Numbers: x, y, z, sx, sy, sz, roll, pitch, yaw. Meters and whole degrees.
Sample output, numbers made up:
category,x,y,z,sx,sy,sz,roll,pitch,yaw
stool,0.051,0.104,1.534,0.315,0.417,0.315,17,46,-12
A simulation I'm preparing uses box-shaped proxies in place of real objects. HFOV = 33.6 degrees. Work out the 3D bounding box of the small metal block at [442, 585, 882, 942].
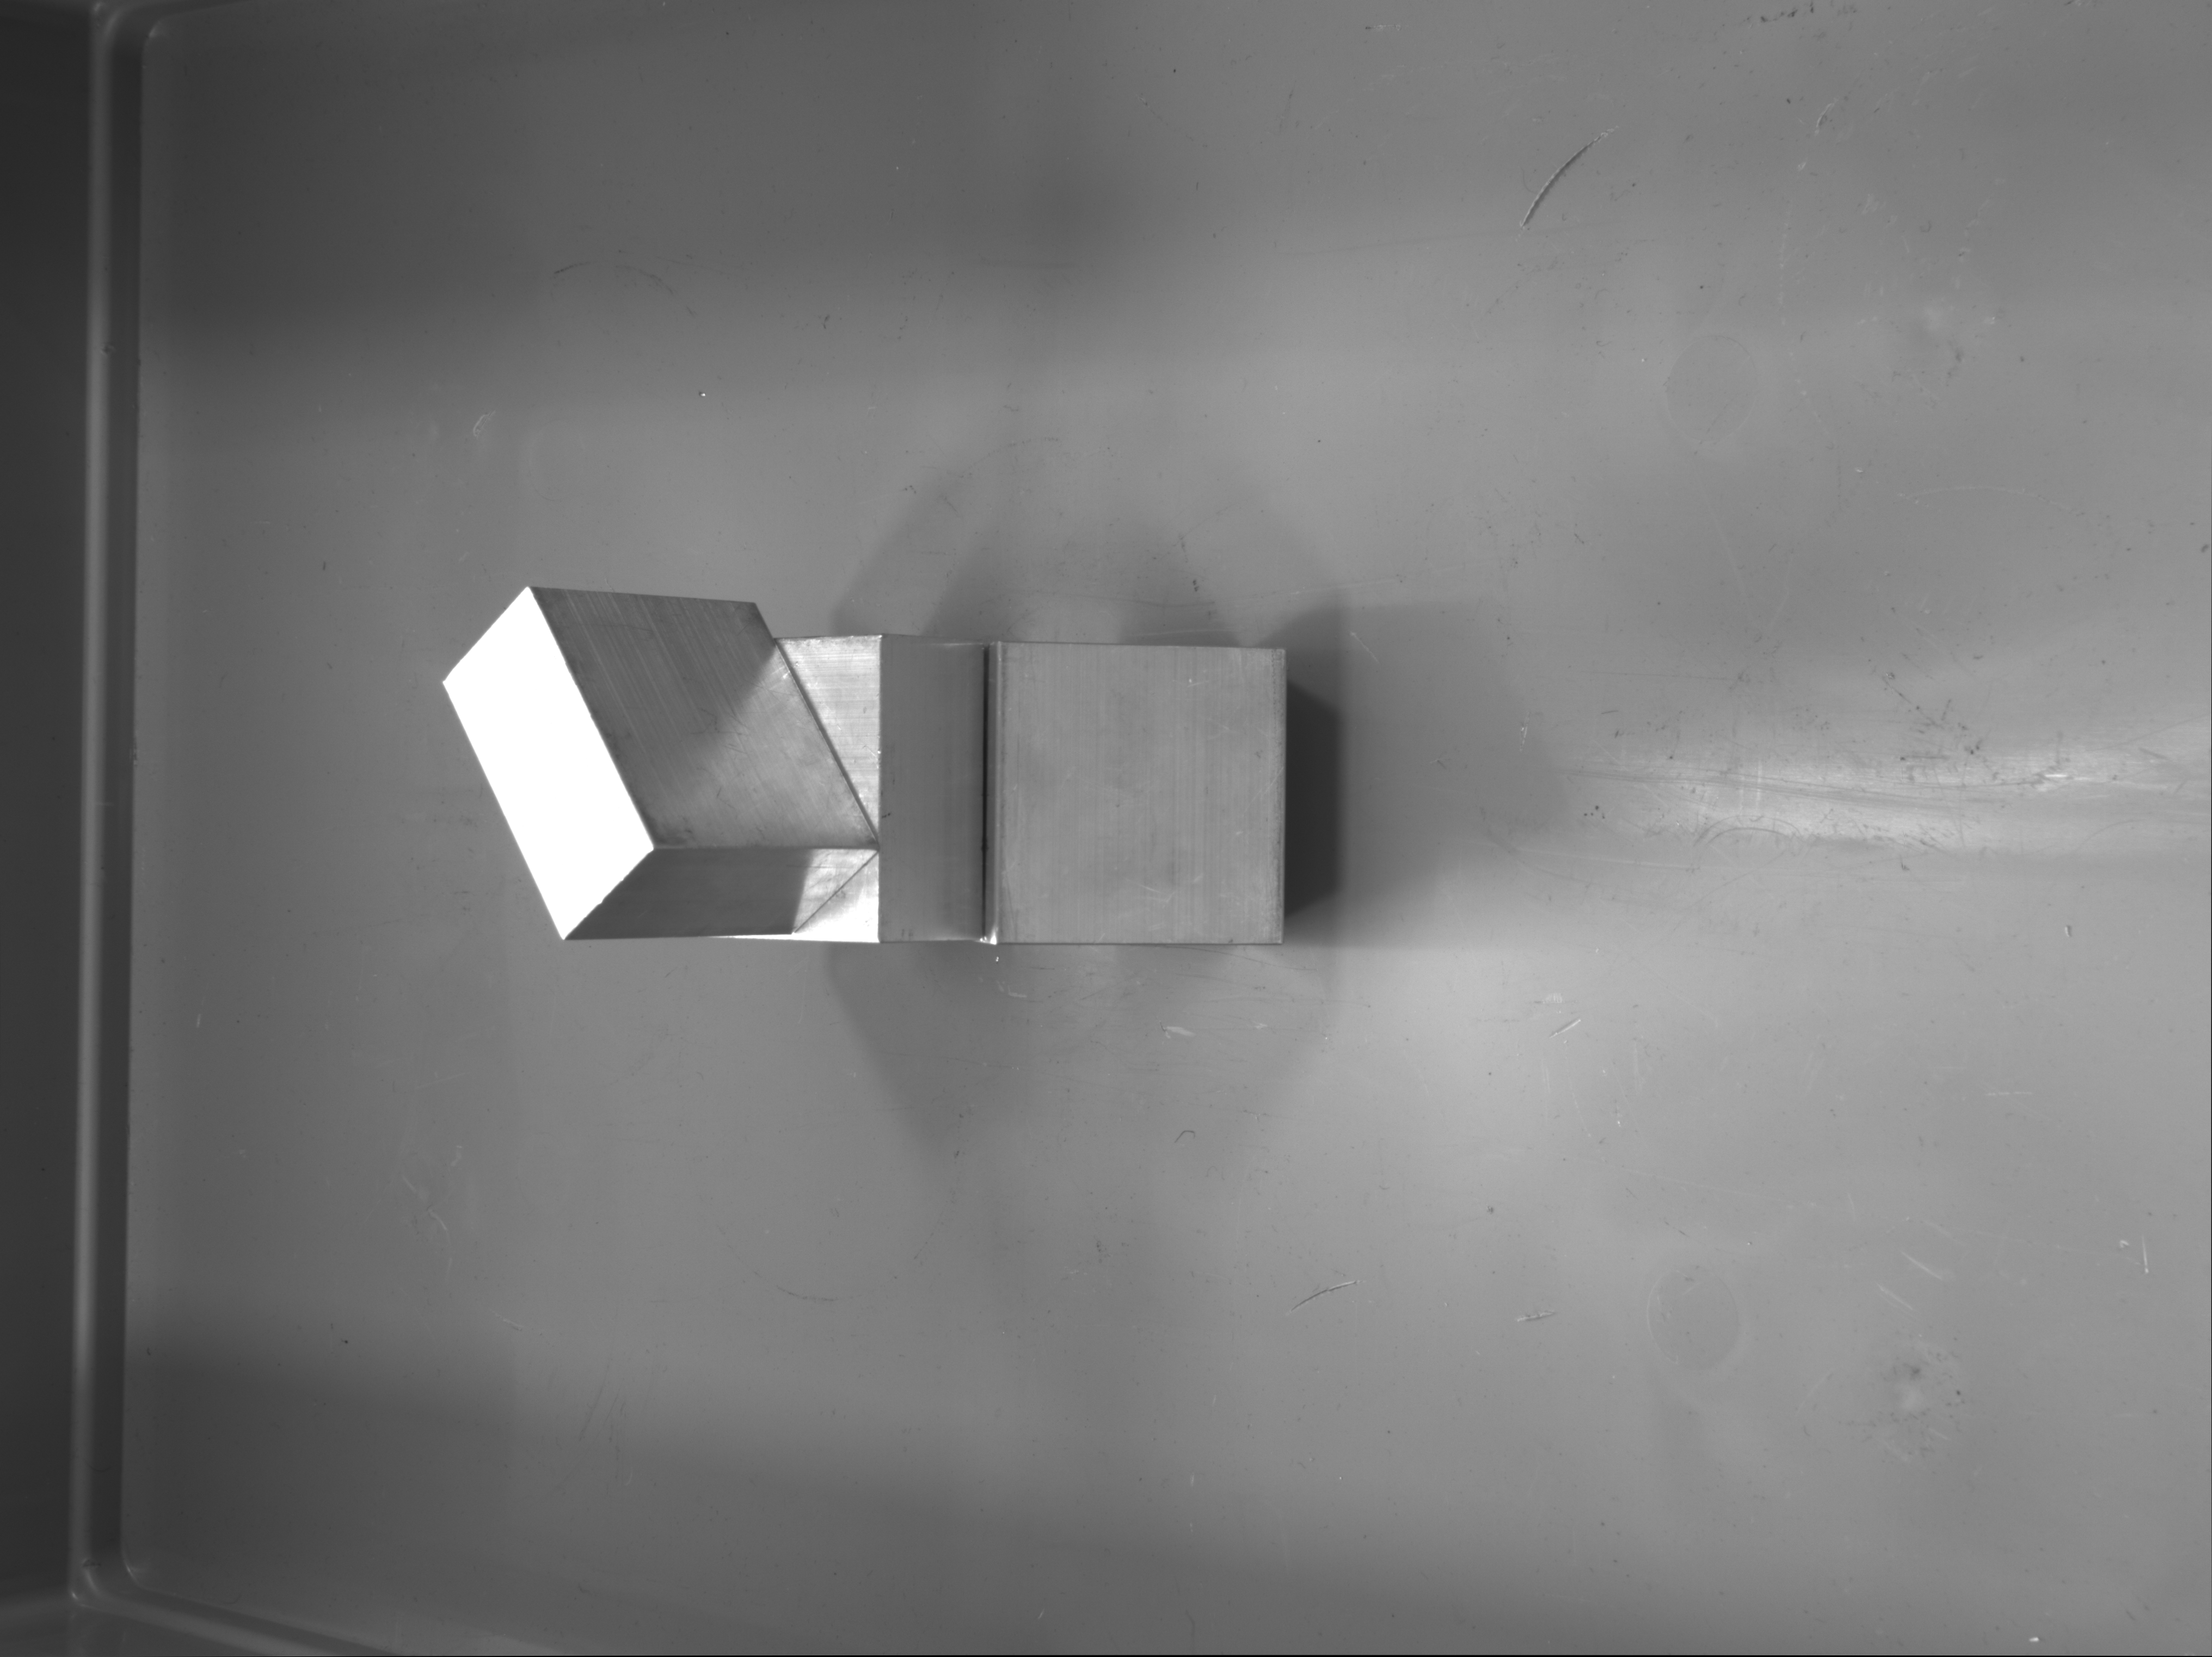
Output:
category,x,y,z,sx,sy,sz,roll,pitch,yaw
small metal block,-0.071,-0.010,0.587,0.025,0.050,0.050,-43,64,32

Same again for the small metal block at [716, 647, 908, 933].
category,x,y,z,sx,sy,sz,roll,pitch,yaw
small metal block,-0.053,-0.007,0.668,0.025,0.050,0.050,1,90,7

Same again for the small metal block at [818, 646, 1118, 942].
category,x,y,z,sx,sy,sz,roll,pitch,yaw
small metal block,-0.024,-0.006,0.647,0.025,0.050,0.050,1,90,40

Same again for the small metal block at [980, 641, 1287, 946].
category,x,y,z,sx,sy,sz,roll,pitch,yaw
small metal block,0.003,-0.006,0.622,0.025,0.050,0.050,-179,89,-74

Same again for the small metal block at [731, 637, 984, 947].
category,x,y,z,sx,sy,sz,roll,pitch,yaw
small metal block,-0.048,-0.006,0.617,0.050,0.025,0.050,1,90,40
